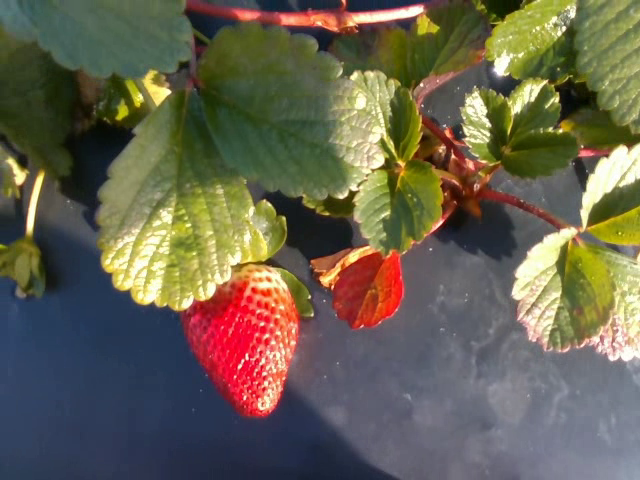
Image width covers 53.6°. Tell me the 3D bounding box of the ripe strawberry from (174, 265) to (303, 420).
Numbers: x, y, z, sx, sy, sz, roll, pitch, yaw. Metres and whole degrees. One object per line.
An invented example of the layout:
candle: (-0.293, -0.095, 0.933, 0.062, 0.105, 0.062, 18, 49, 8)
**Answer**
ripe strawberry: (-0.026, 0.033, 0.196, 0.040, 0.056, 0.040, -28, -30, 27)
